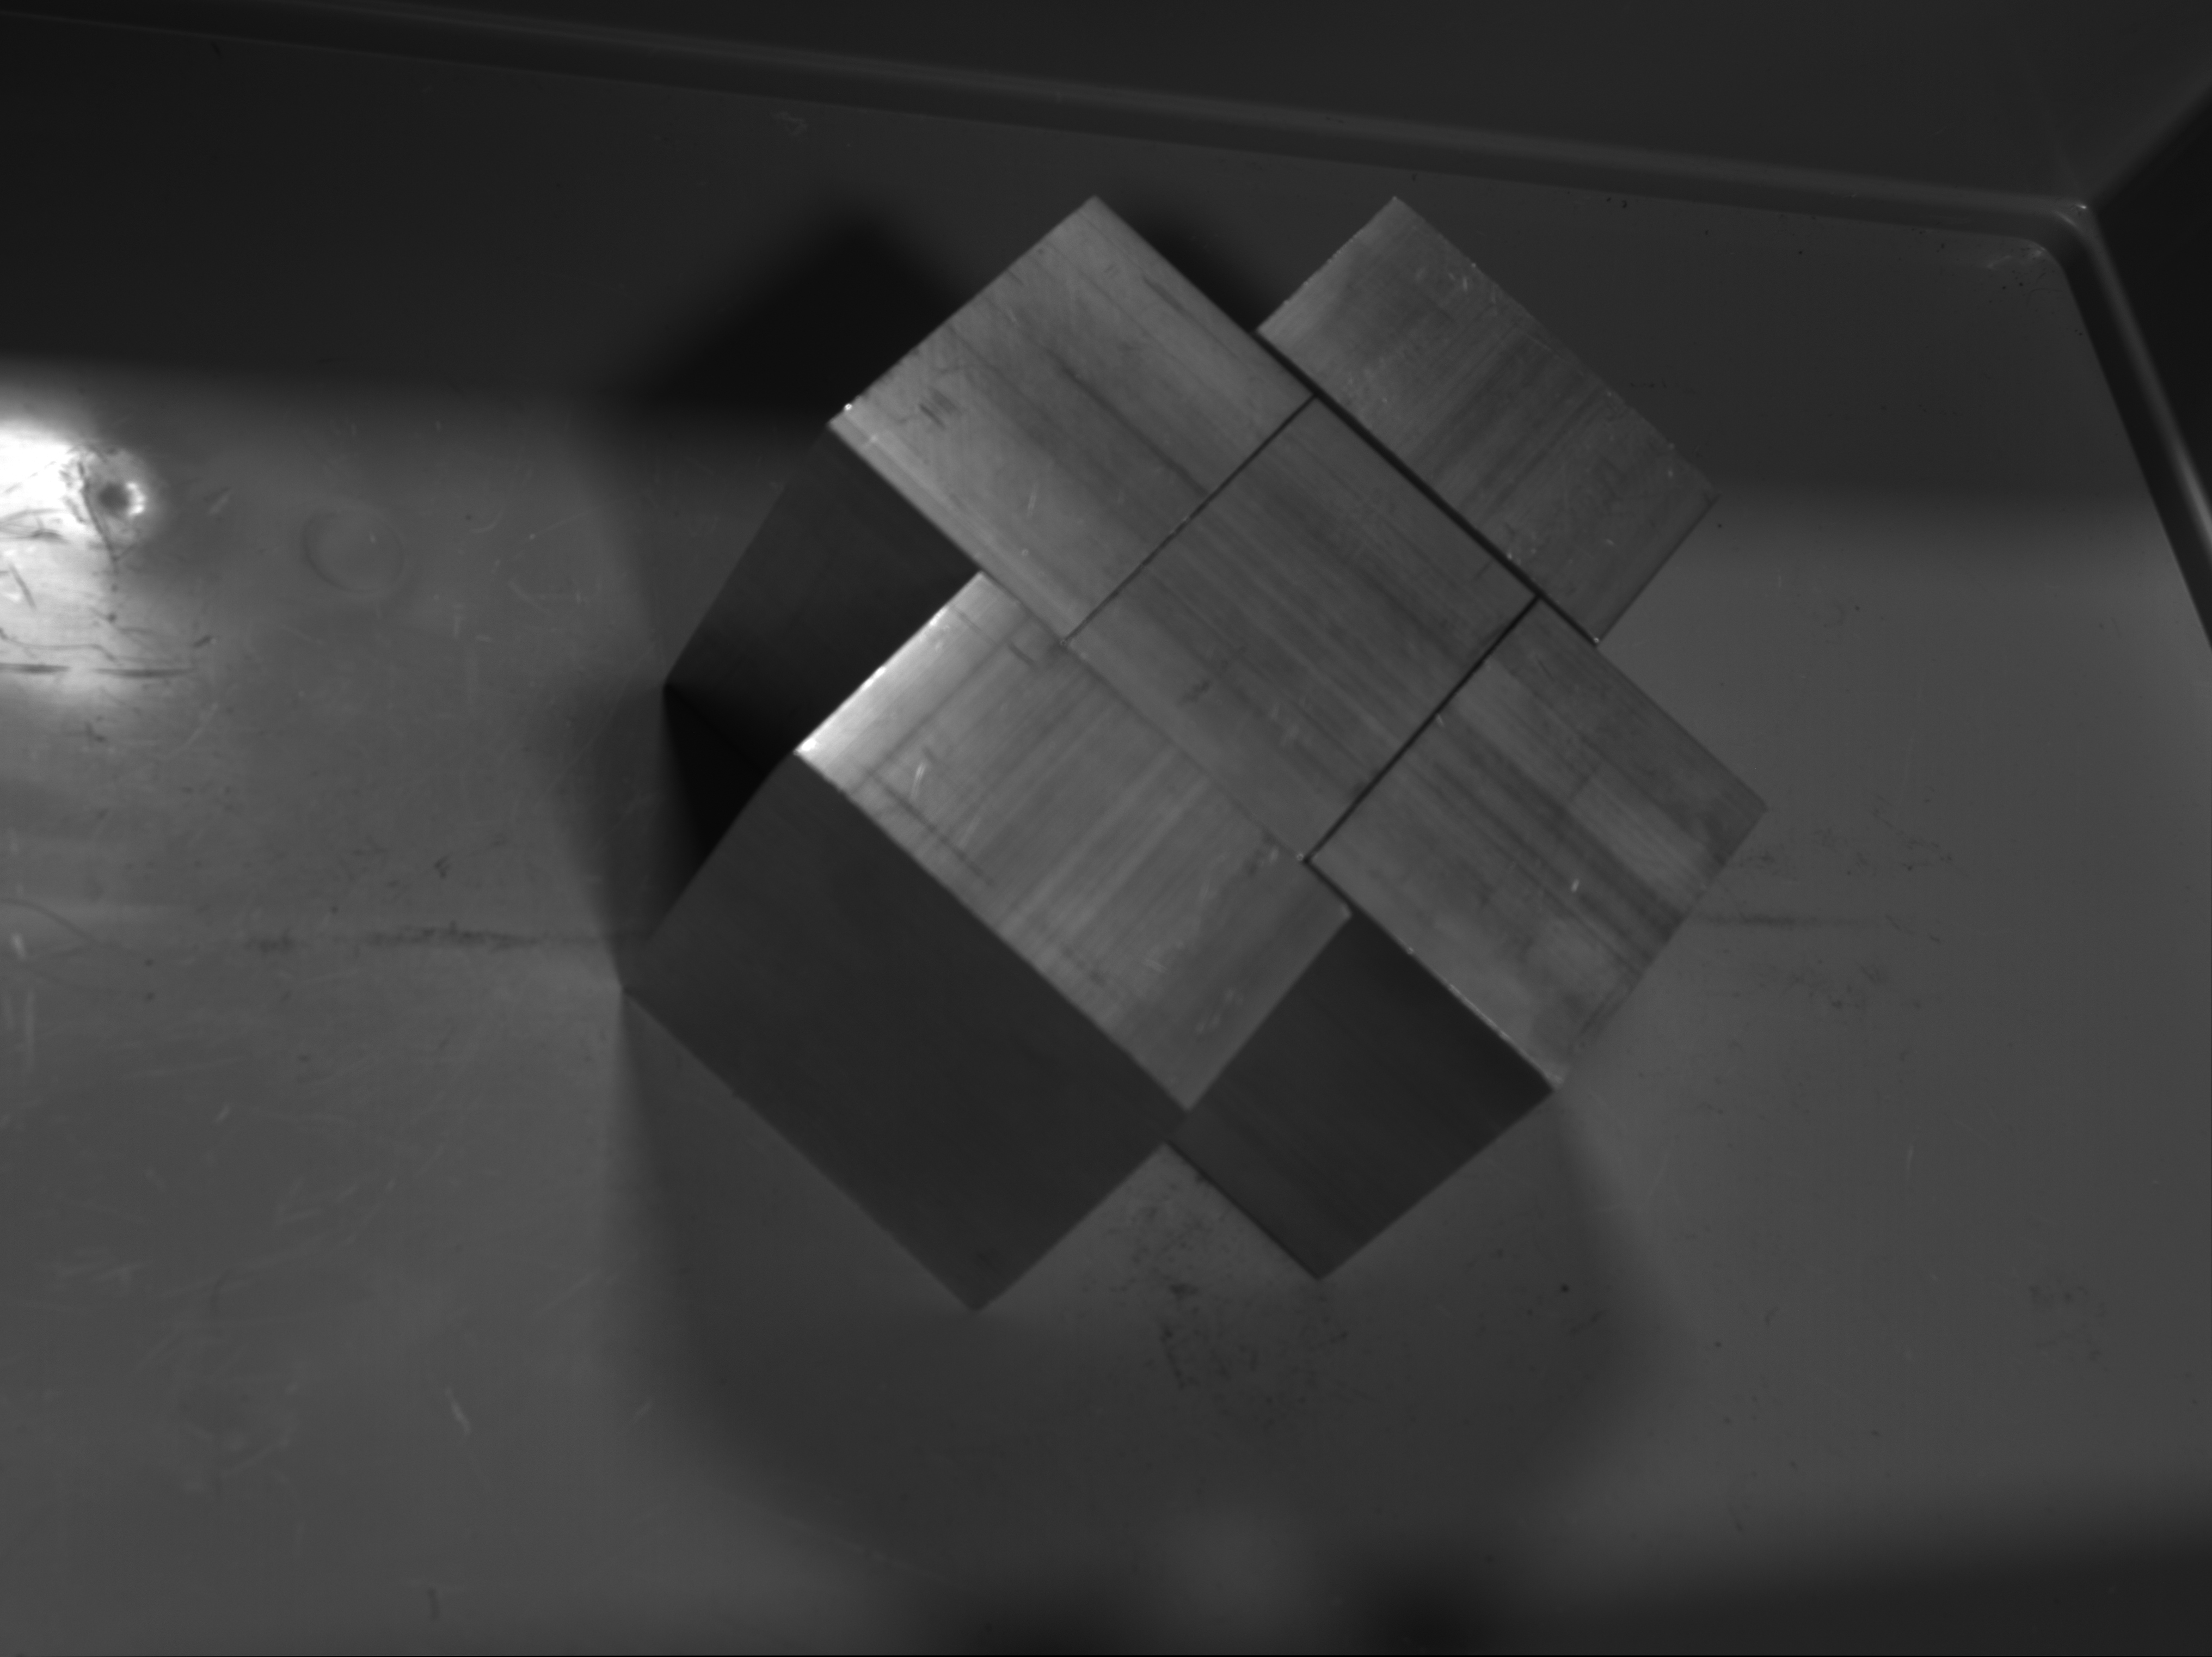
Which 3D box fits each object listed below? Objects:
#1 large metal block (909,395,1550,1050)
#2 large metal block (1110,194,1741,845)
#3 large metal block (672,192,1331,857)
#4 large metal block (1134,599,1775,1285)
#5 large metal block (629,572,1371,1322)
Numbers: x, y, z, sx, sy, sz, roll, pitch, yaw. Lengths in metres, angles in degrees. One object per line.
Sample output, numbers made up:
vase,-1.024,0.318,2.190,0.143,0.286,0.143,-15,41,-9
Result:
large metal block,0.019,-0.015,0.623,0.050,0.080,0.080,42,51,1
large metal block,0.053,-0.053,0.665,0.080,0.080,0.050,42,51,1
large metal block,-0.018,-0.049,0.623,0.050,0.080,0.080,42,51,1
large metal block,0.056,0.020,0.623,0.050,0.080,0.080,42,51,1
large metal block,-0.018,0.020,0.582,0.080,0.080,0.050,42,51,1
